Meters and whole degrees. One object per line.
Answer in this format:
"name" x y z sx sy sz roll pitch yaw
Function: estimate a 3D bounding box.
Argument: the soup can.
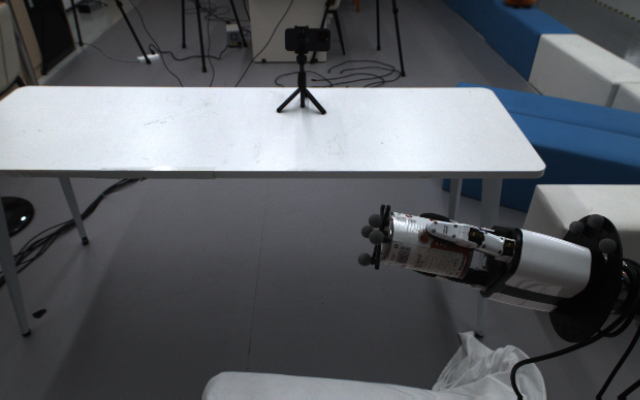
"soup can" 0.132 0.054 0.600 0.101 0.067 0.067 10 35 -2
